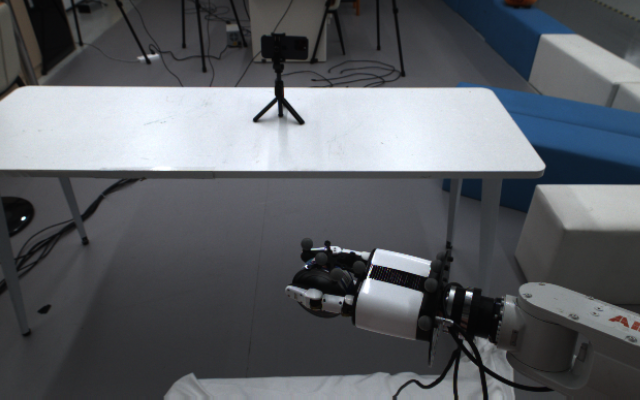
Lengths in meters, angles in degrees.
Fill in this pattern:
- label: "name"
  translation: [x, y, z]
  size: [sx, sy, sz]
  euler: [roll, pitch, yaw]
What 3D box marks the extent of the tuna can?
- label: "tuna can"
  translation: [0.008, 0.124, 0.696]
  size: [0.085, 0.085, 0.034]
  euler: [16, 29, 19]
